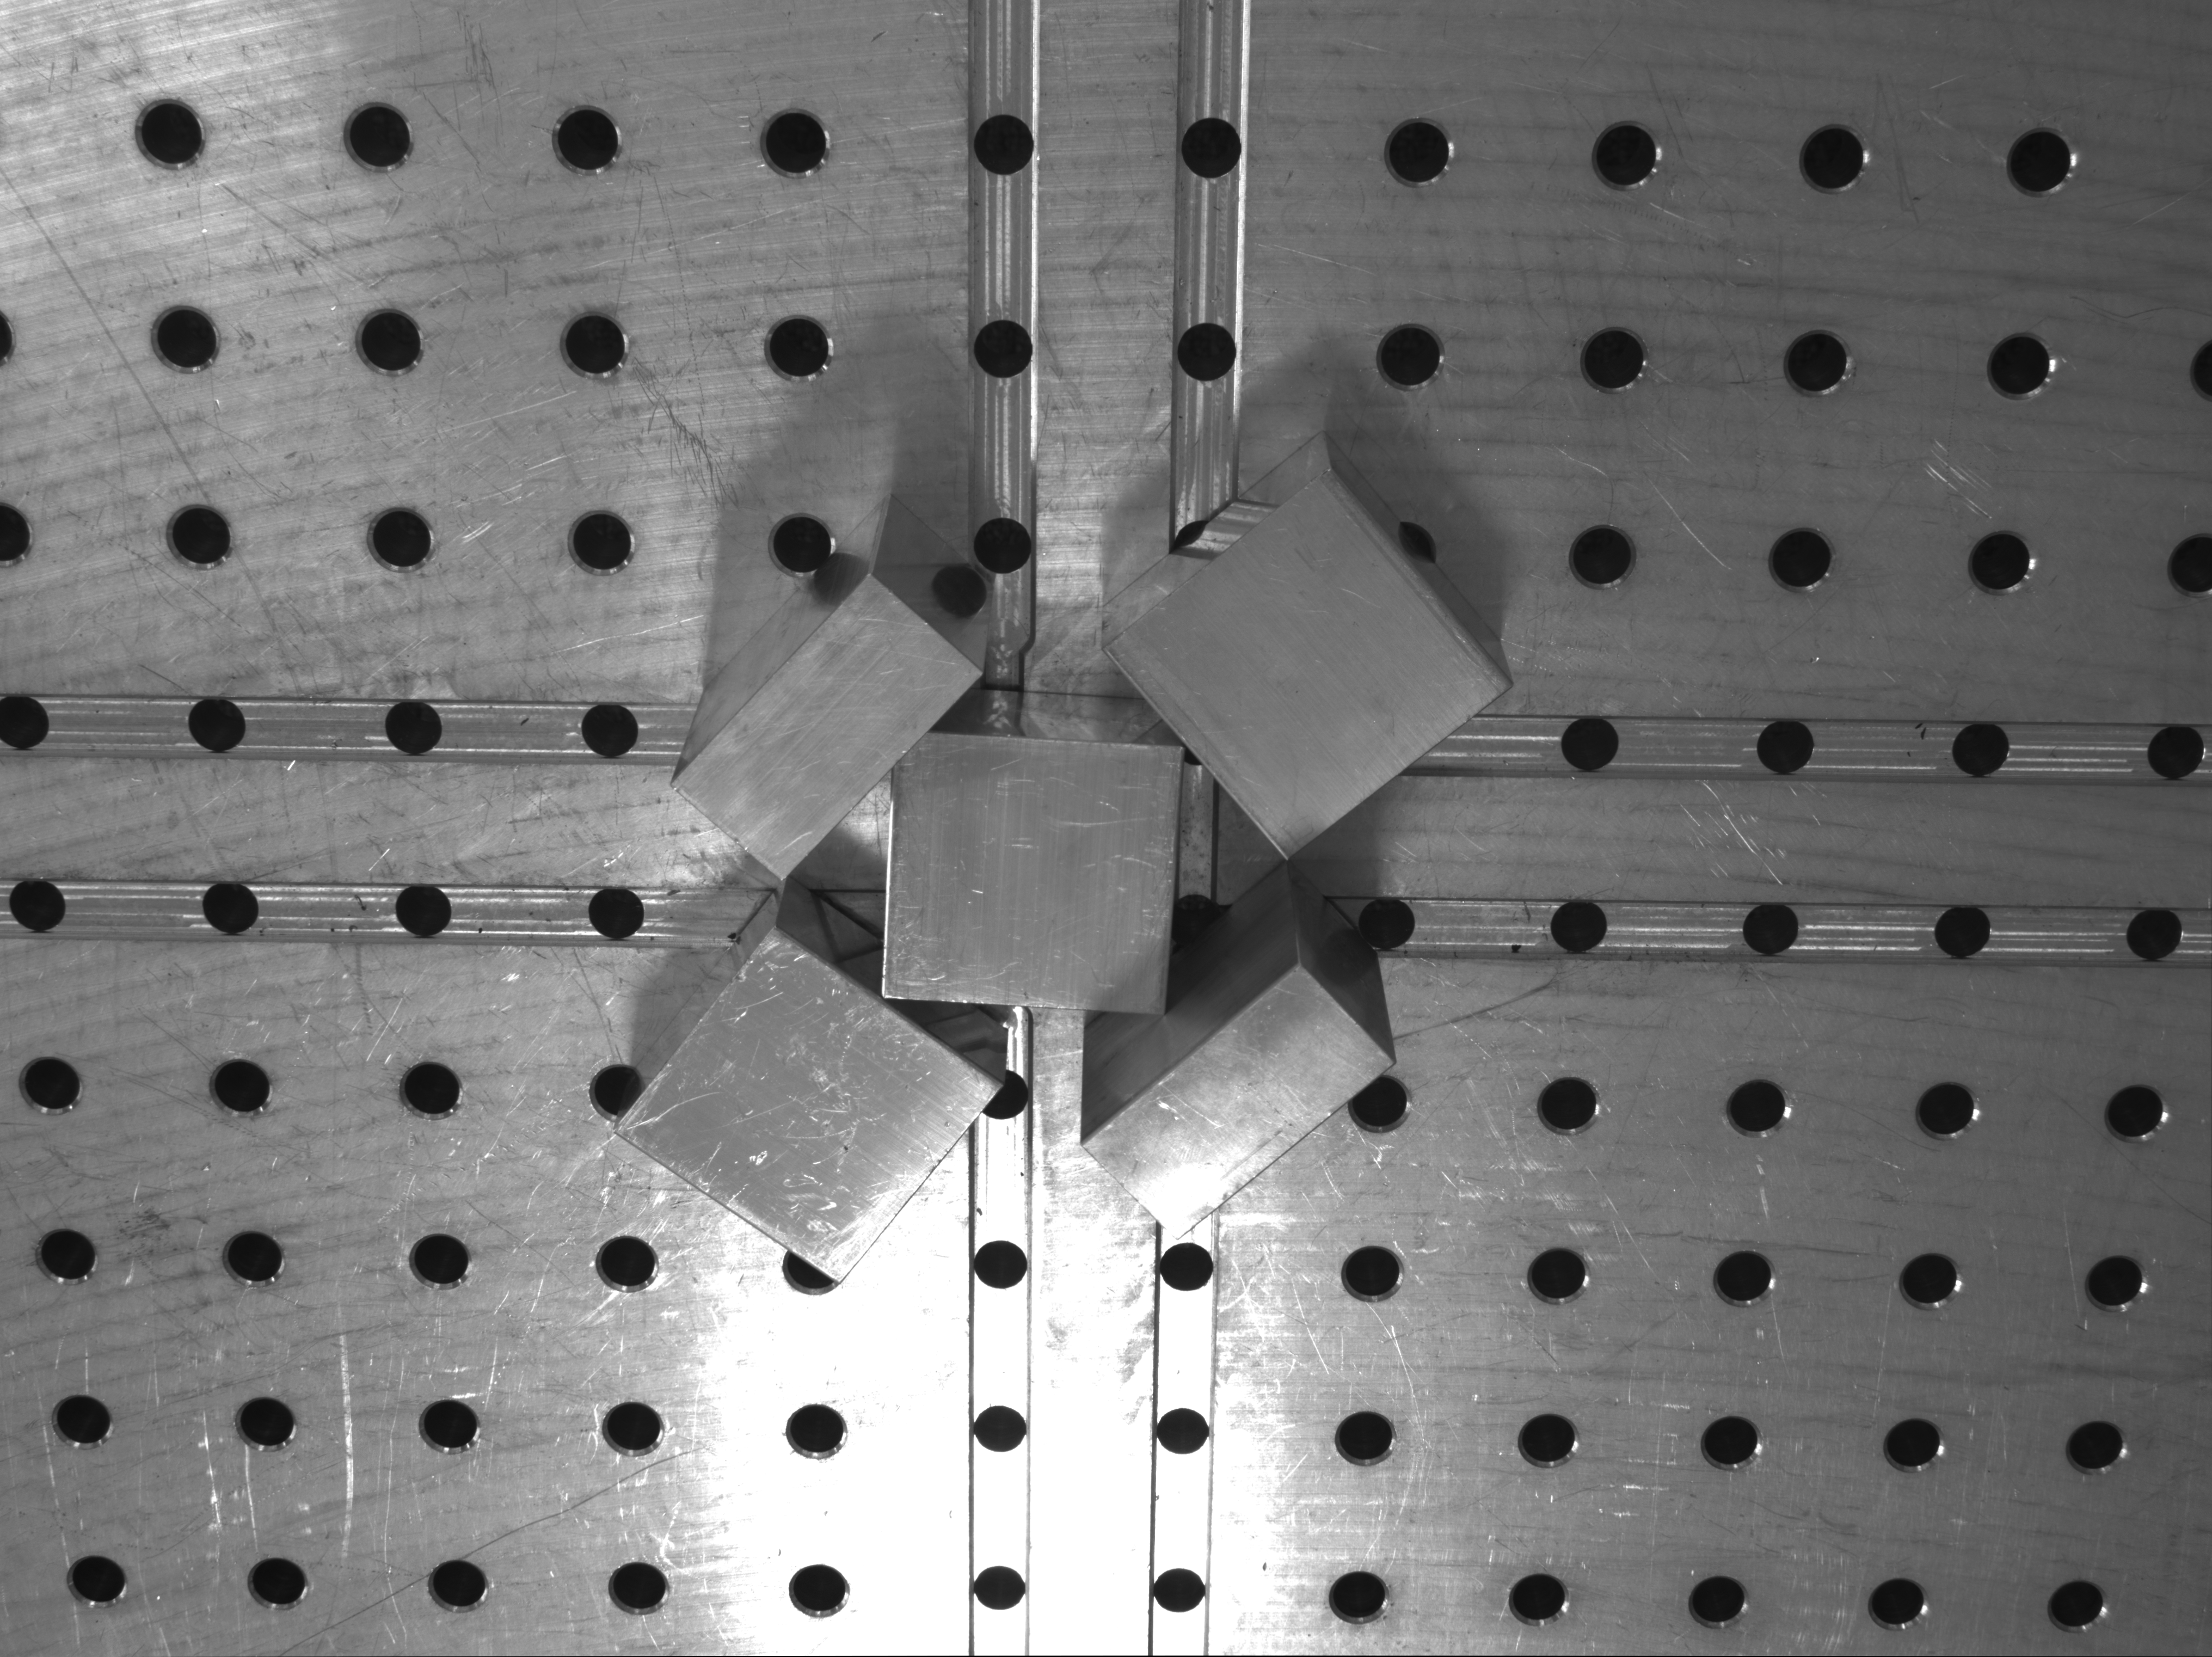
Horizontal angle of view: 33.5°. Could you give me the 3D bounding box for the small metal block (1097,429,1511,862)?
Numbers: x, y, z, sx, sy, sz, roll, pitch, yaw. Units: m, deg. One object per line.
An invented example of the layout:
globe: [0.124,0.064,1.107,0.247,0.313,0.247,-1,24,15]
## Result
small metal block: [0.034,-0.032,0.635,0.050,0.025,0.050,-38,106,13]

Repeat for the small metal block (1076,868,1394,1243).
small metal block: [0.022,0.039,0.647,0.050,0.050,0.025,-41,105,13]

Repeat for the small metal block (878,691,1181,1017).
small metal block: [-0.013,0.004,0.647,0.050,0.025,0.050,4,109,0]

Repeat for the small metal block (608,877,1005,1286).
small metal block: [-0.054,0.045,0.663,0.050,0.025,0.050,36,106,-13]

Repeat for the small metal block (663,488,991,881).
small metal block: [-0.046,-0.025,0.624,0.025,0.050,0.050,42,105,-14]
